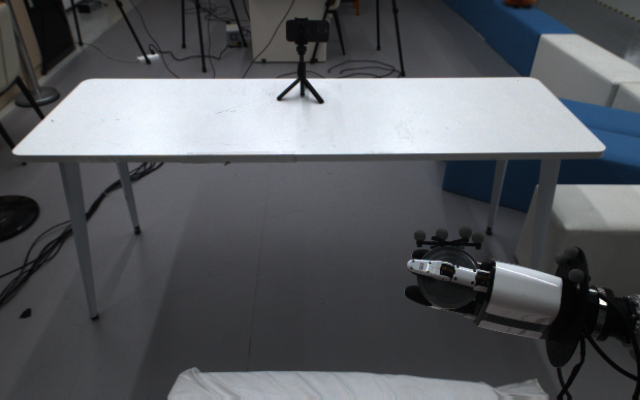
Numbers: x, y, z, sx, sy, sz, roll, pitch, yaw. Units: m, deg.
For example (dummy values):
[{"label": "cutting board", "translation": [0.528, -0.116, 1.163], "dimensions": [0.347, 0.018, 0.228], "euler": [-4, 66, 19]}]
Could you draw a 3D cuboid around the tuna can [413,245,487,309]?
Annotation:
[{"label": "tuna can", "translation": [0.181, 0.105, 0.671], "dimensions": [0.085, 0.034, 0.085], "euler": [-4, 72, 12]}]
